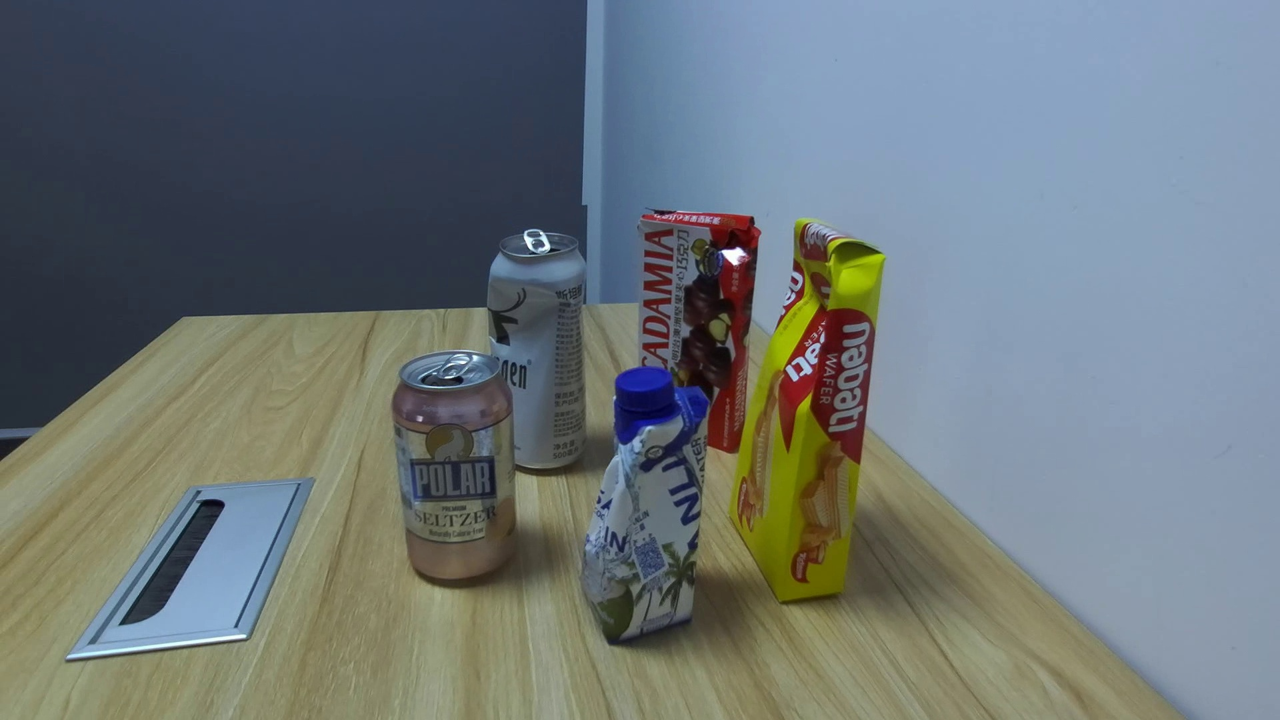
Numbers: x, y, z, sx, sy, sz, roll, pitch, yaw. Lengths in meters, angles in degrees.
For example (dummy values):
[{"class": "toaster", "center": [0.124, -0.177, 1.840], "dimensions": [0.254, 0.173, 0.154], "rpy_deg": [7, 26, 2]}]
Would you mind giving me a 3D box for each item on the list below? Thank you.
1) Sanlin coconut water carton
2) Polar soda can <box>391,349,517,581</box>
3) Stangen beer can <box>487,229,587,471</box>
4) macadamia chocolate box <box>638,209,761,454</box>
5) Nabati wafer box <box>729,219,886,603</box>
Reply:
[{"class": "Sanlin coconut water carton", "center": [0.011, 0.074, 0.366], "dimensions": [0.069, 0.144, 0.056], "rpy_deg": [0, 27, -26]}, {"class": "Polar soda can", "center": [-0.107, 0.062, 0.413], "dimensions": [0.067, 0.125, 0.067], "rpy_deg": [2, 20, 0]}, {"class": "Stangen beer can", "center": [-0.072, -0.004, 0.516], "dimensions": [0.070, 0.173, 0.070], "rpy_deg": [-5, 23, -15]}, {"class": "macadamia chocolate box", "center": [0.044, -0.024, 0.550], "dimensions": [0.102, 0.187, 0.027], "rpy_deg": [17, 30, 34]}, {"class": "Nabati wafer box", "center": [0.094, 0.027, 0.404], "dimensions": [0.043, 0.205, 0.113], "rpy_deg": [-1, 21, -9]}]
